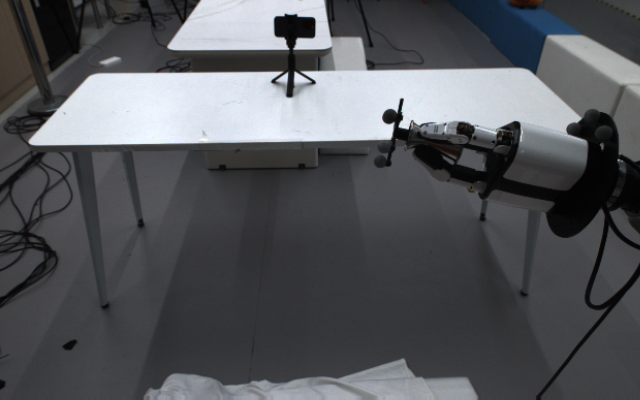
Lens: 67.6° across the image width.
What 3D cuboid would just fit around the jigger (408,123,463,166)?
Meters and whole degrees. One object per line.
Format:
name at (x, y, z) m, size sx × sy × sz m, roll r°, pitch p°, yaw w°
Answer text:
jigger at (0.152, -0.079, 0.619) m, size 0.071 × 0.043 × 0.043 m, roll 13°, pitch 36°, yaw 3°
